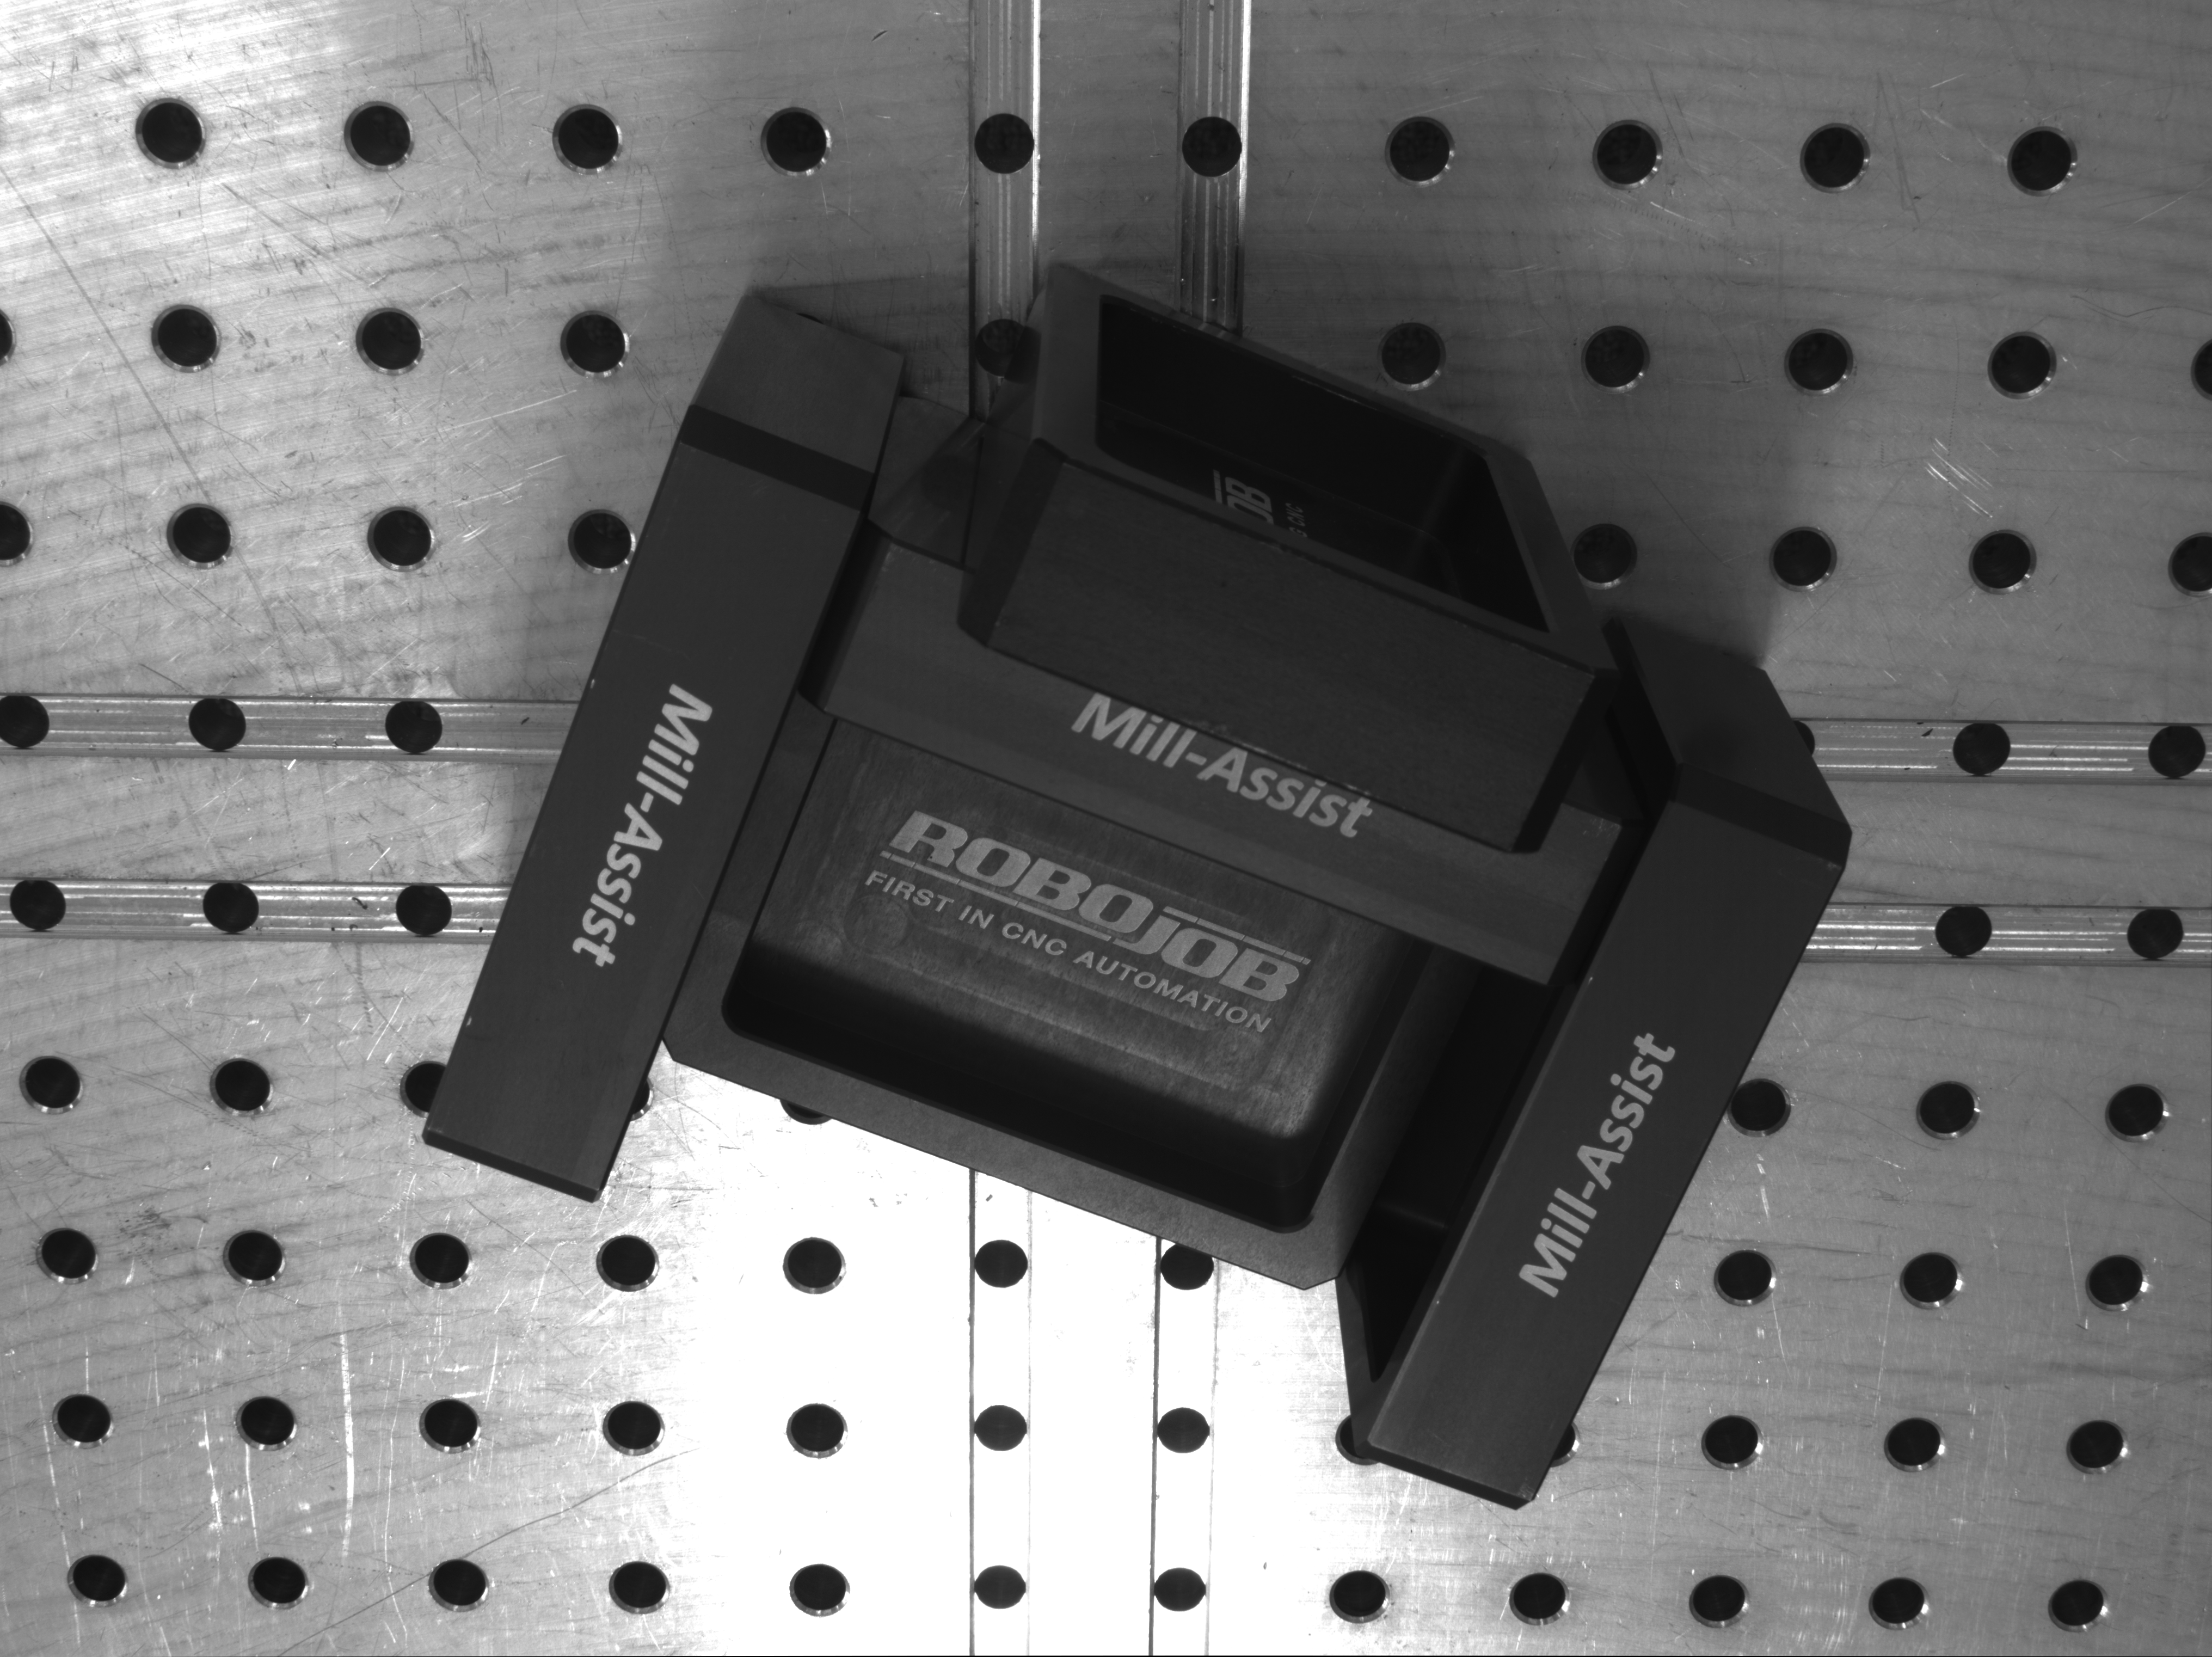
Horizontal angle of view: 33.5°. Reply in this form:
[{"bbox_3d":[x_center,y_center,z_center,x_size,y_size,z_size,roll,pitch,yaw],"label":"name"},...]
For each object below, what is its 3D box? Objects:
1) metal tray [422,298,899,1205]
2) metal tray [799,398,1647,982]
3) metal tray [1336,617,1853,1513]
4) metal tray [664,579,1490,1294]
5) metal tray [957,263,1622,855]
[{"bbox_3d":[-0.072,-0.015,0.606,0.030,0.090,0.130,20,109,-7],"label":"metal tray"},{"bbox_3d":[0.018,-0.025,0.603,0.130,0.090,0.030,21,109,-8],"label":"metal tray"},{"bbox_3d":[0.079,0.038,0.626,0.030,0.090,0.130,20,109,-7],"label":"metal tray"},{"bbox_3d":[-0.003,0.018,0.650,0.130,0.030,0.090,21,109,-8],"label":"metal tray"},{"bbox_3d":[0.026,-0.046,0.574,0.090,0.130,0.030,21,109,-8],"label":"metal tray"}]
